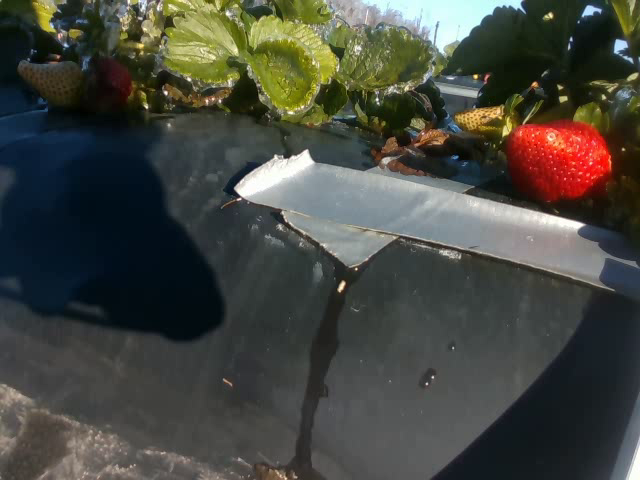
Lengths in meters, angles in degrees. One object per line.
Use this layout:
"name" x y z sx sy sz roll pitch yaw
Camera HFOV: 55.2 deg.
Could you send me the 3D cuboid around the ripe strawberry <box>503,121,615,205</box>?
"ripe strawberry" 0.123 -0.044 0.321 0.065 0.062 0.058 17 -56 -48
